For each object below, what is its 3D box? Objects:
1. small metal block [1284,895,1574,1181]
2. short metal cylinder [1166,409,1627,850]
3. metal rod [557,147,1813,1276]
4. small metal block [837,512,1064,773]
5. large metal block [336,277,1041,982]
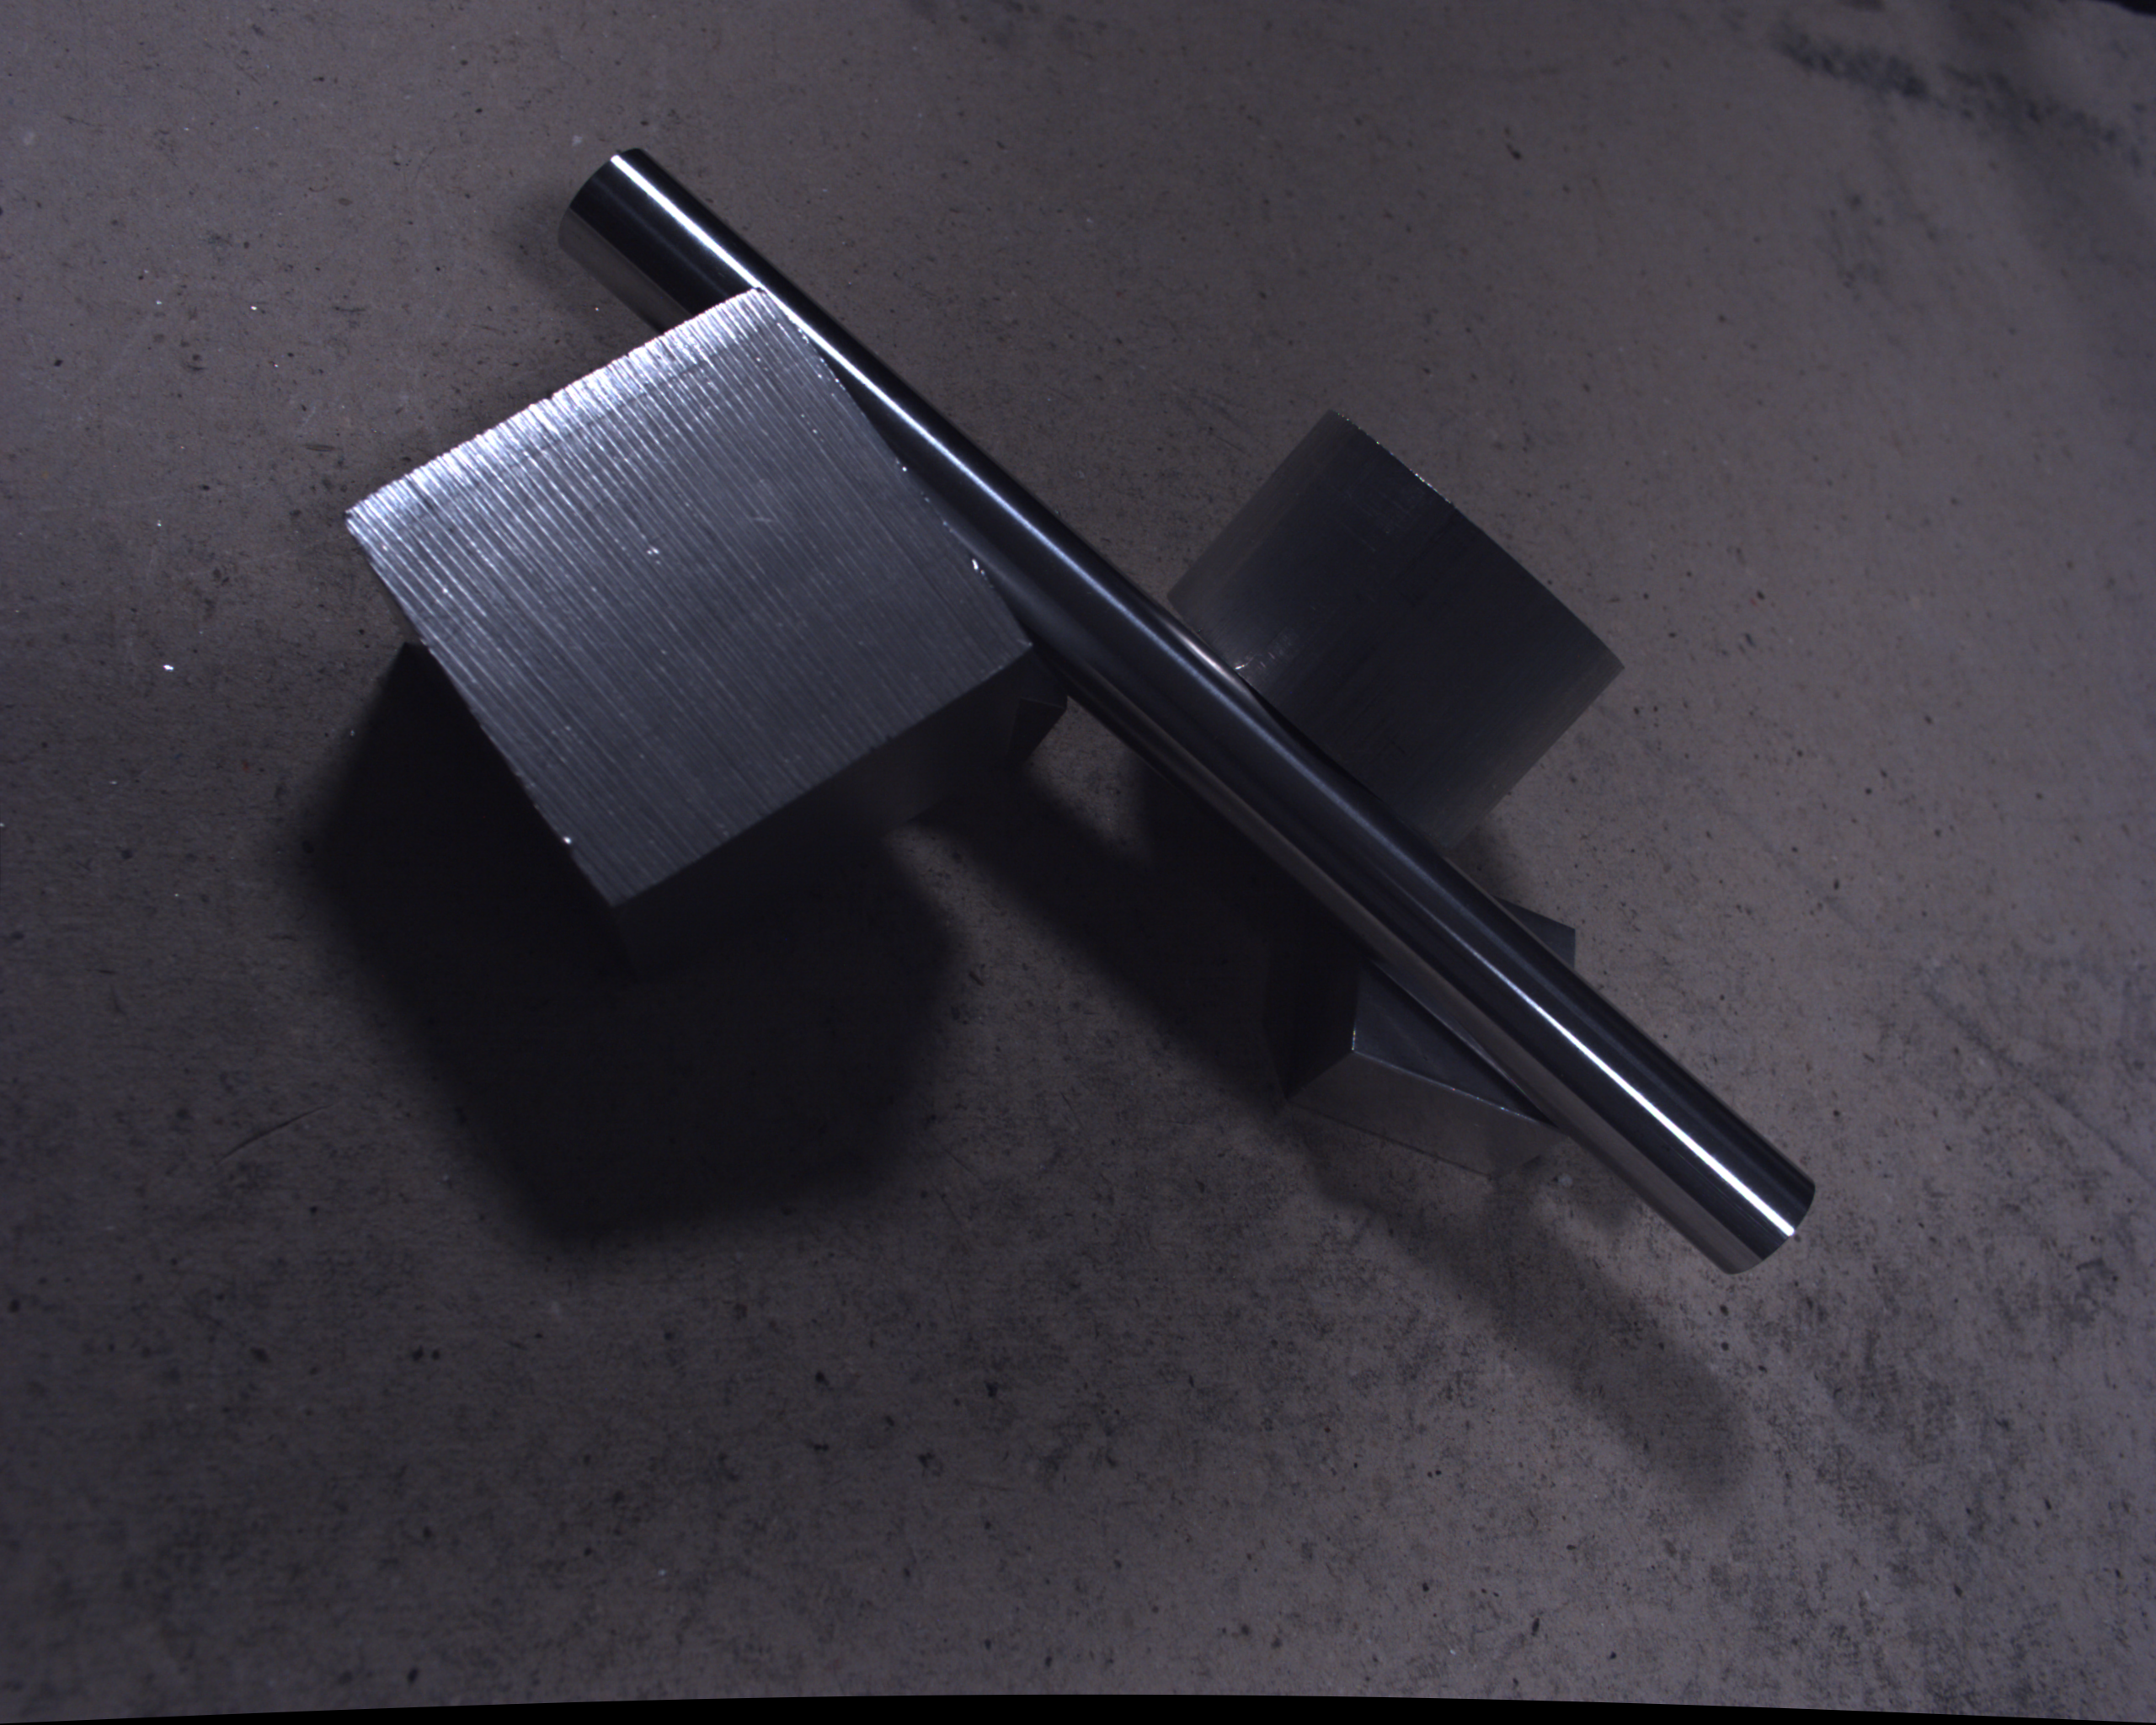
[{"bbox_3d":[0.073,0.031,0.428,0.050,0.025,0.050,22,53,-15],"label":"small metal block"},{"bbox_3d":[0.065,-0.048,0.430,0.080,0.050,0.080,40,11,-9],"label":"short metal cylinder"},{"bbox_3d":[0.021,-0.029,0.404,0.300,0.025,0.025,41,51,0],"label":"metal rod"},{"bbox_3d":[-0.032,-0.050,0.421,0.050,0.025,0.050,12,57,-22],"label":"small metal block"},{"bbox_3d":[-0.065,-0.039,0.358,0.080,0.050,0.080,-33,81,-15],"label":"large metal block"}]
